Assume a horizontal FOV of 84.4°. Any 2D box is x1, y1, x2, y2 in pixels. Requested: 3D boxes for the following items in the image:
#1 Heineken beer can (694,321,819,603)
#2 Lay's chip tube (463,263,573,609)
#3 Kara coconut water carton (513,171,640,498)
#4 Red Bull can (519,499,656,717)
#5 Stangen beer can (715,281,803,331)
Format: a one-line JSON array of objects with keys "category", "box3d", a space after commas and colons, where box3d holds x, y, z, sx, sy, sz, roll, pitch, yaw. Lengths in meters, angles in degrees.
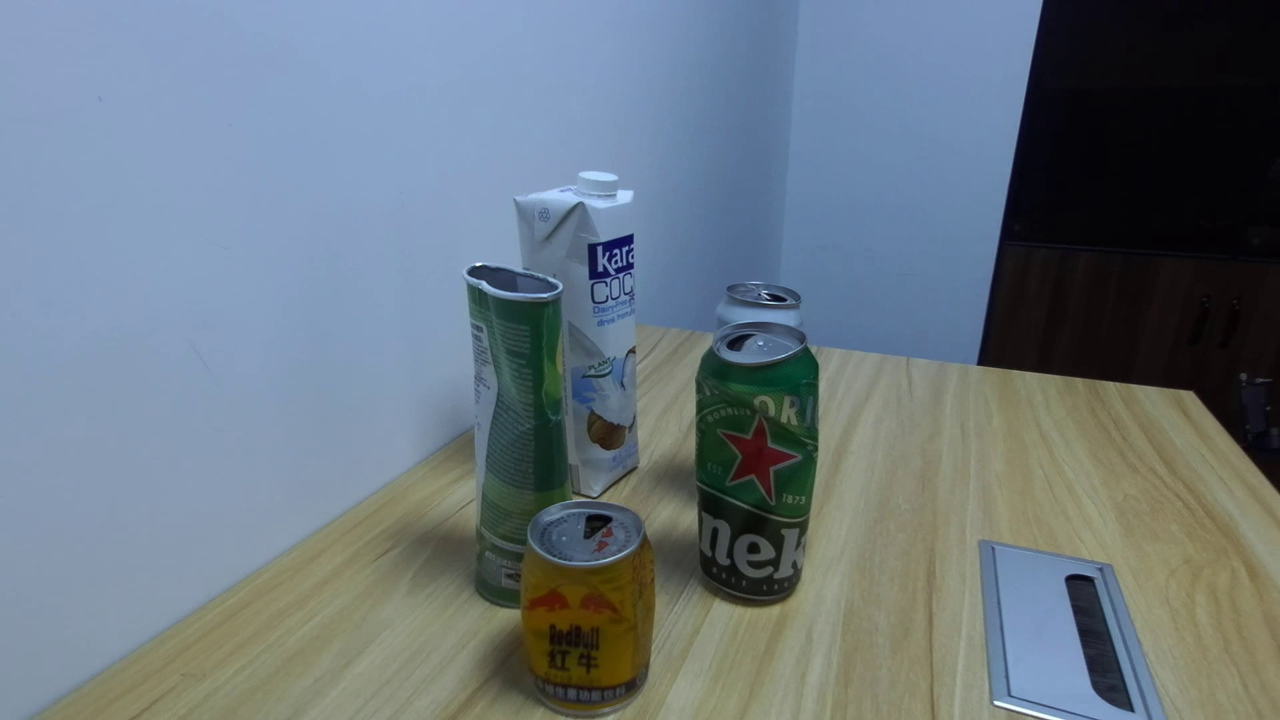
[{"category": "Heineken beer can", "box3d": [0.071, 0.066, 0.434, 0.069, 0.168, 0.068, -3, 21, -2]}, {"category": "Lay's chip tube", "box3d": [-0.074, 0.048, 0.431, 0.074, 0.199, 0.069, 6, 20, 14]}, {"category": "Kara coconut water carton", "box3d": [-0.045, -0.019, 0.553, 0.075, 0.245, 0.077, 10, 22, 31]}, {"category": "Red Bull can", "box3d": [-0.026, 0.127, 0.371, 0.072, 0.092, 0.072, 0, 19, 0]}, {"category": "Stangen beer can", "box3d": [0.082, 0.022, 0.540, 0.070, 0.173, 0.070, 0, 31, -12]}]
